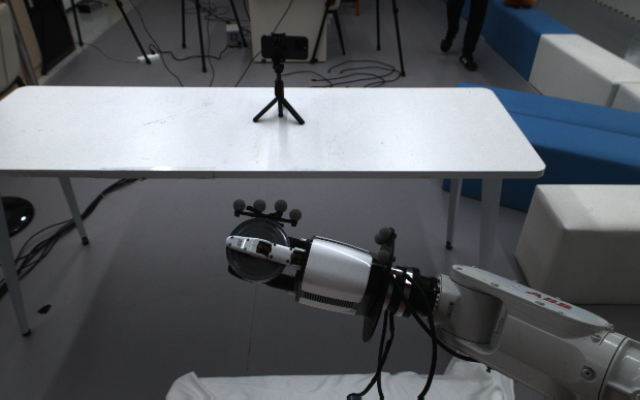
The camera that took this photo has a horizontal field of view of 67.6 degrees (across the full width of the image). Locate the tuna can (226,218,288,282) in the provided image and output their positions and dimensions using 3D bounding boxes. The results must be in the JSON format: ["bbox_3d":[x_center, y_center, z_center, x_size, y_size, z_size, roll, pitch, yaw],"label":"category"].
[{"bbox_3d":[-0.082,0.068,0.659,0.085,0.034,0.085,1,72,-2],"label":"tuna can"}]
